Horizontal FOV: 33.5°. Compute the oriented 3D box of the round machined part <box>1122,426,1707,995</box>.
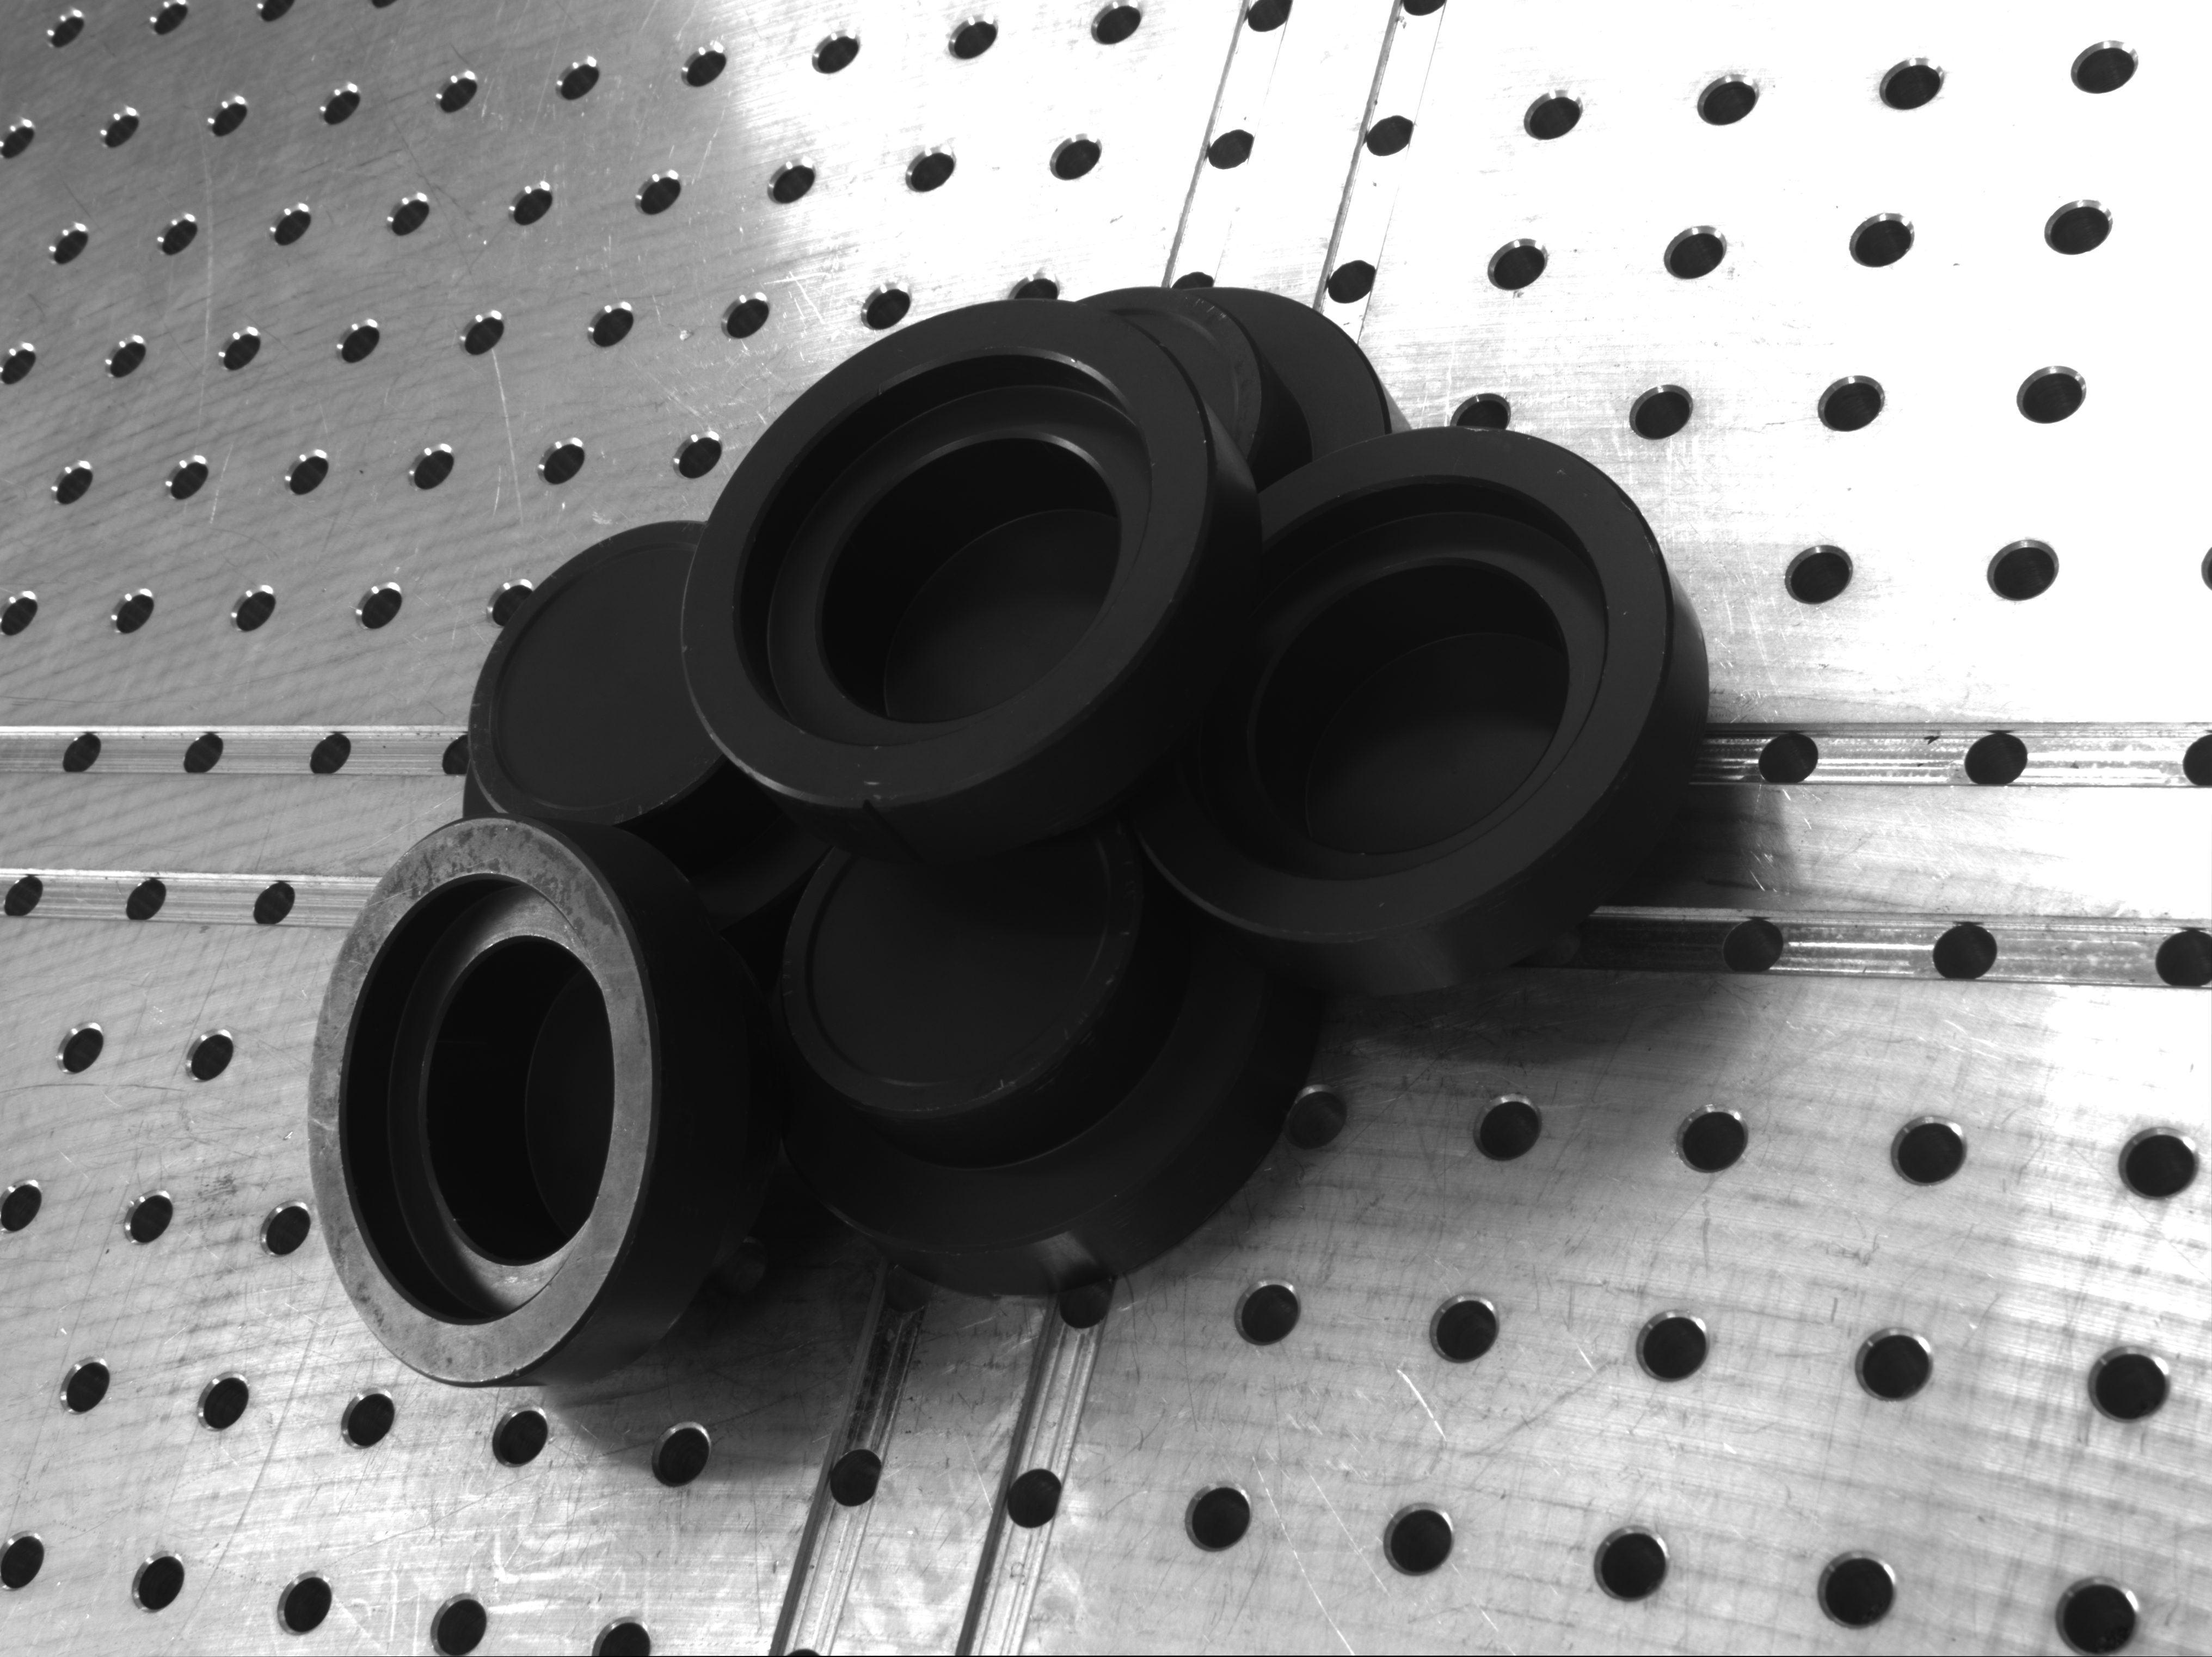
[{"bbox_3d":[0.054,-0.016,0.618,0.098,0.042,0.098,-14,56,21],"label":"round machined part"}]

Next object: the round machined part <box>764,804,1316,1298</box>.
[{"bbox_3d":[-0.017,0.027,0.630,0.098,0.042,0.098,-14,56,21],"label":"round machined part"}]

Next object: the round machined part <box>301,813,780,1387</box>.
[{"bbox_3d":[-0.095,0.048,0.643,0.098,0.042,0.098,-7,80,42],"label":"round machined part"}]

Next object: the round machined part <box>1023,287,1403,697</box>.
[{"bbox_3d":[0.006,-0.059,0.671,0.098,0.042,0.098,-14,56,21],"label":"round machined part"}]

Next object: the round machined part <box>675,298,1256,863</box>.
[{"bbox_3d":[-0.020,-0.037,0.616,0.098,0.042,0.098,-14,56,21],"label":"round machined part"}]

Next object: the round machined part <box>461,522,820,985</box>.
[{"bbox_3d":[-0.081,-0.018,0.693,0.098,0.042,0.098,-14,56,21],"label":"round machined part"}]
